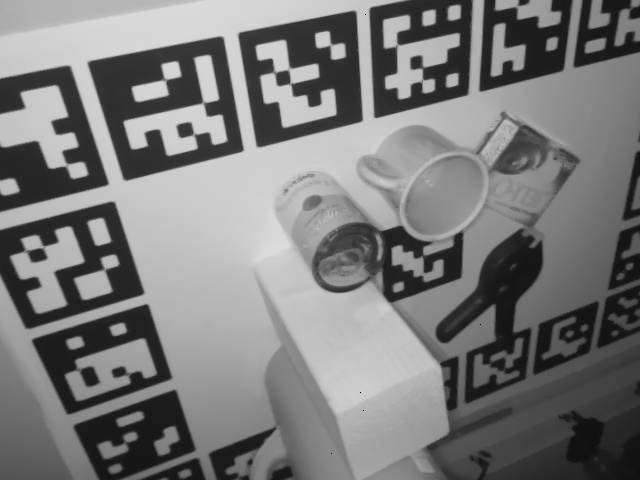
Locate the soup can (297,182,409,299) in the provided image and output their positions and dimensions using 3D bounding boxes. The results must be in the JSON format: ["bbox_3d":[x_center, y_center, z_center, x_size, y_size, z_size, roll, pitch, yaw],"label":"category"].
[{"bbox_3d":[0.026,-0.003,0.615,0.069,0.102,0.067,-10,120,-18],"label":"soup can"}]

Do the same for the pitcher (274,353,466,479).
[{"bbox_3d":[0.039,0.216,0.666,0.191,0.242,0.132,-20,127,-15],"label":"pitcher"}]

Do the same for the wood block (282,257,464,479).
[{"bbox_3d":[0.040,0.102,0.618,0.090,0.206,0.090,-18,125,-8],"label":"wood block"}]

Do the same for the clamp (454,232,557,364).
[{"bbox_3d":[0.236,0.069,0.804,0.123,0.036,0.163,12,112,-22],"label":"clamp"}]

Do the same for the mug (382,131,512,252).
[{"bbox_3d":[0.106,-0.052,0.637,0.118,0.081,0.092,16,114,-32],"label":"mug"}]

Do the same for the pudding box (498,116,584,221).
[{"bbox_3d":[0.236,-0.067,0.717,0.115,0.038,0.089,18,107,-32],"label":"pudding box"}]
